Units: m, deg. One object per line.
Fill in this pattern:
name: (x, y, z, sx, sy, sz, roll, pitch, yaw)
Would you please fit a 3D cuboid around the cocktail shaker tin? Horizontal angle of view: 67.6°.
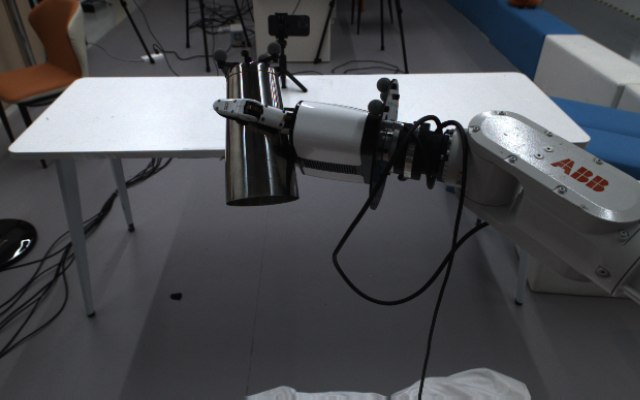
cocktail shaker tin: (-0.080, -0.082, 0.617, 0.093, 0.170, 0.093, -6, -7, -1)
